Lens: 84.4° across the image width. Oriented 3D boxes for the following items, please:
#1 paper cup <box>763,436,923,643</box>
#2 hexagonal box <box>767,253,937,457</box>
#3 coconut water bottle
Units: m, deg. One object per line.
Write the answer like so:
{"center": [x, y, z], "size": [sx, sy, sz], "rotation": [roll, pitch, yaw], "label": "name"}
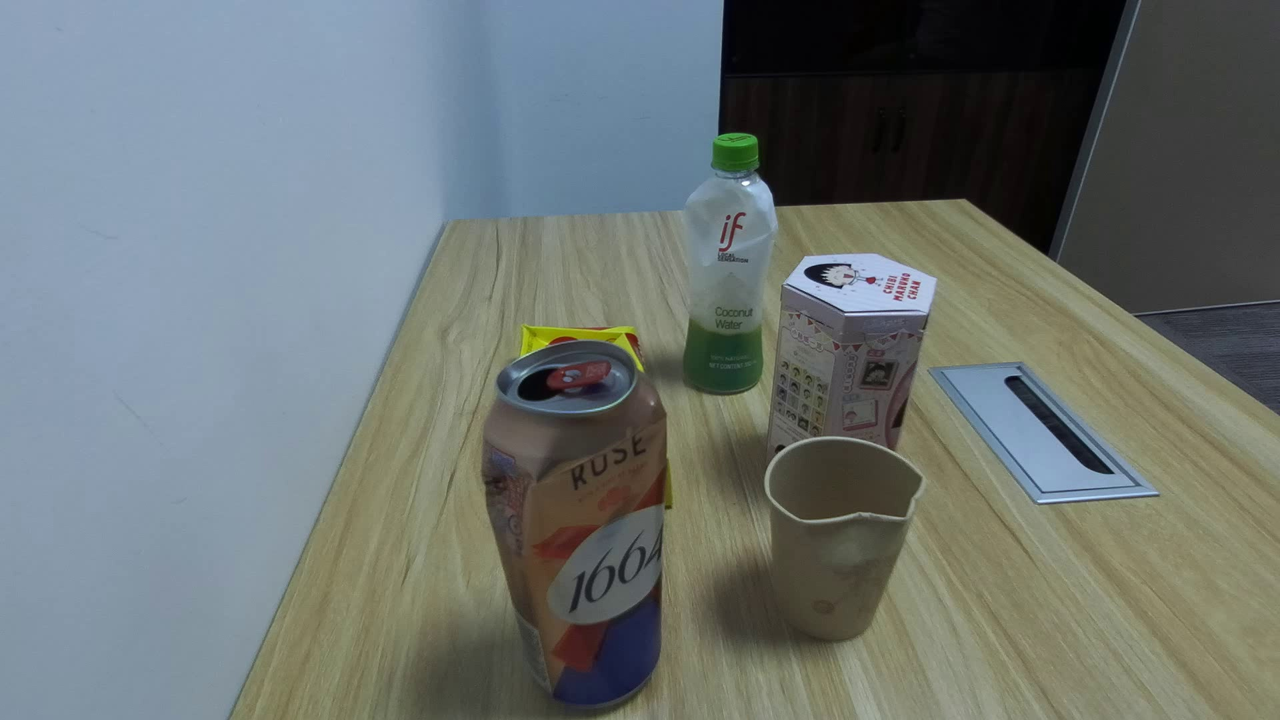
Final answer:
{"center": [0.096, 0.091, 0.354], "size": [0.068, 0.081, 0.073], "rotation": [17, 35, 29], "label": "paper cup"}
{"center": [0.128, 0.012, 0.435], "size": [0.083, 0.136, 0.091], "rotation": [13, 34, 21], "label": "hexagonal box"}
{"center": [0.064, -0.067, 0.517], "size": [0.067, 0.187, 0.067], "rotation": [-1, 29, 1], "label": "coconut water bottle"}
